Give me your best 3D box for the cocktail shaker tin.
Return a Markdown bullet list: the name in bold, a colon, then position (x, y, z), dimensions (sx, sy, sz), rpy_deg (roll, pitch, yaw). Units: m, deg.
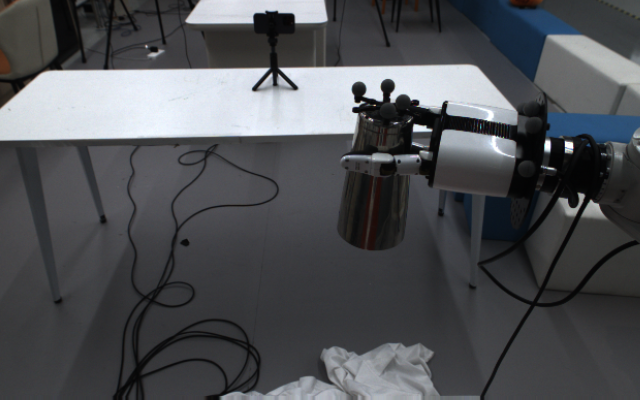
- **cocktail shaker tin**: position (0.076, -0.034, 0.617), dimensions (0.093, 0.170, 0.093), rpy_deg (3, 33, -2)
